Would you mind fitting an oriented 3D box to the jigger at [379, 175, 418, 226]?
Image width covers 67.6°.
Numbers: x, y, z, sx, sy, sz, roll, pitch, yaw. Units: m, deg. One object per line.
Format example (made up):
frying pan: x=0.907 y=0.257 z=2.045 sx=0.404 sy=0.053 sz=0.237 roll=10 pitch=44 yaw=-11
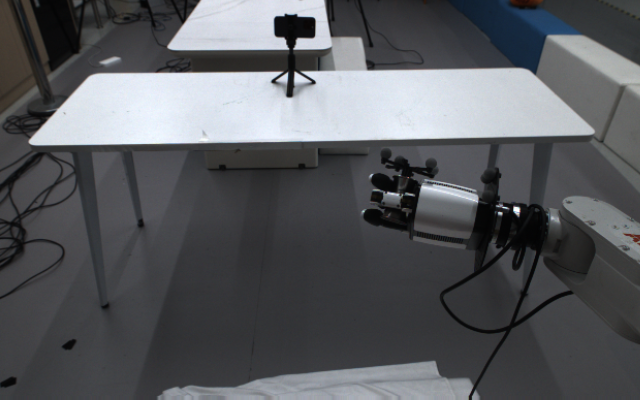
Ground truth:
jigger: x=0.124 y=-0.001 z=0.742 sx=0.043 sy=0.071 sz=0.043 roll=16 pitch=-7 yaw=2
